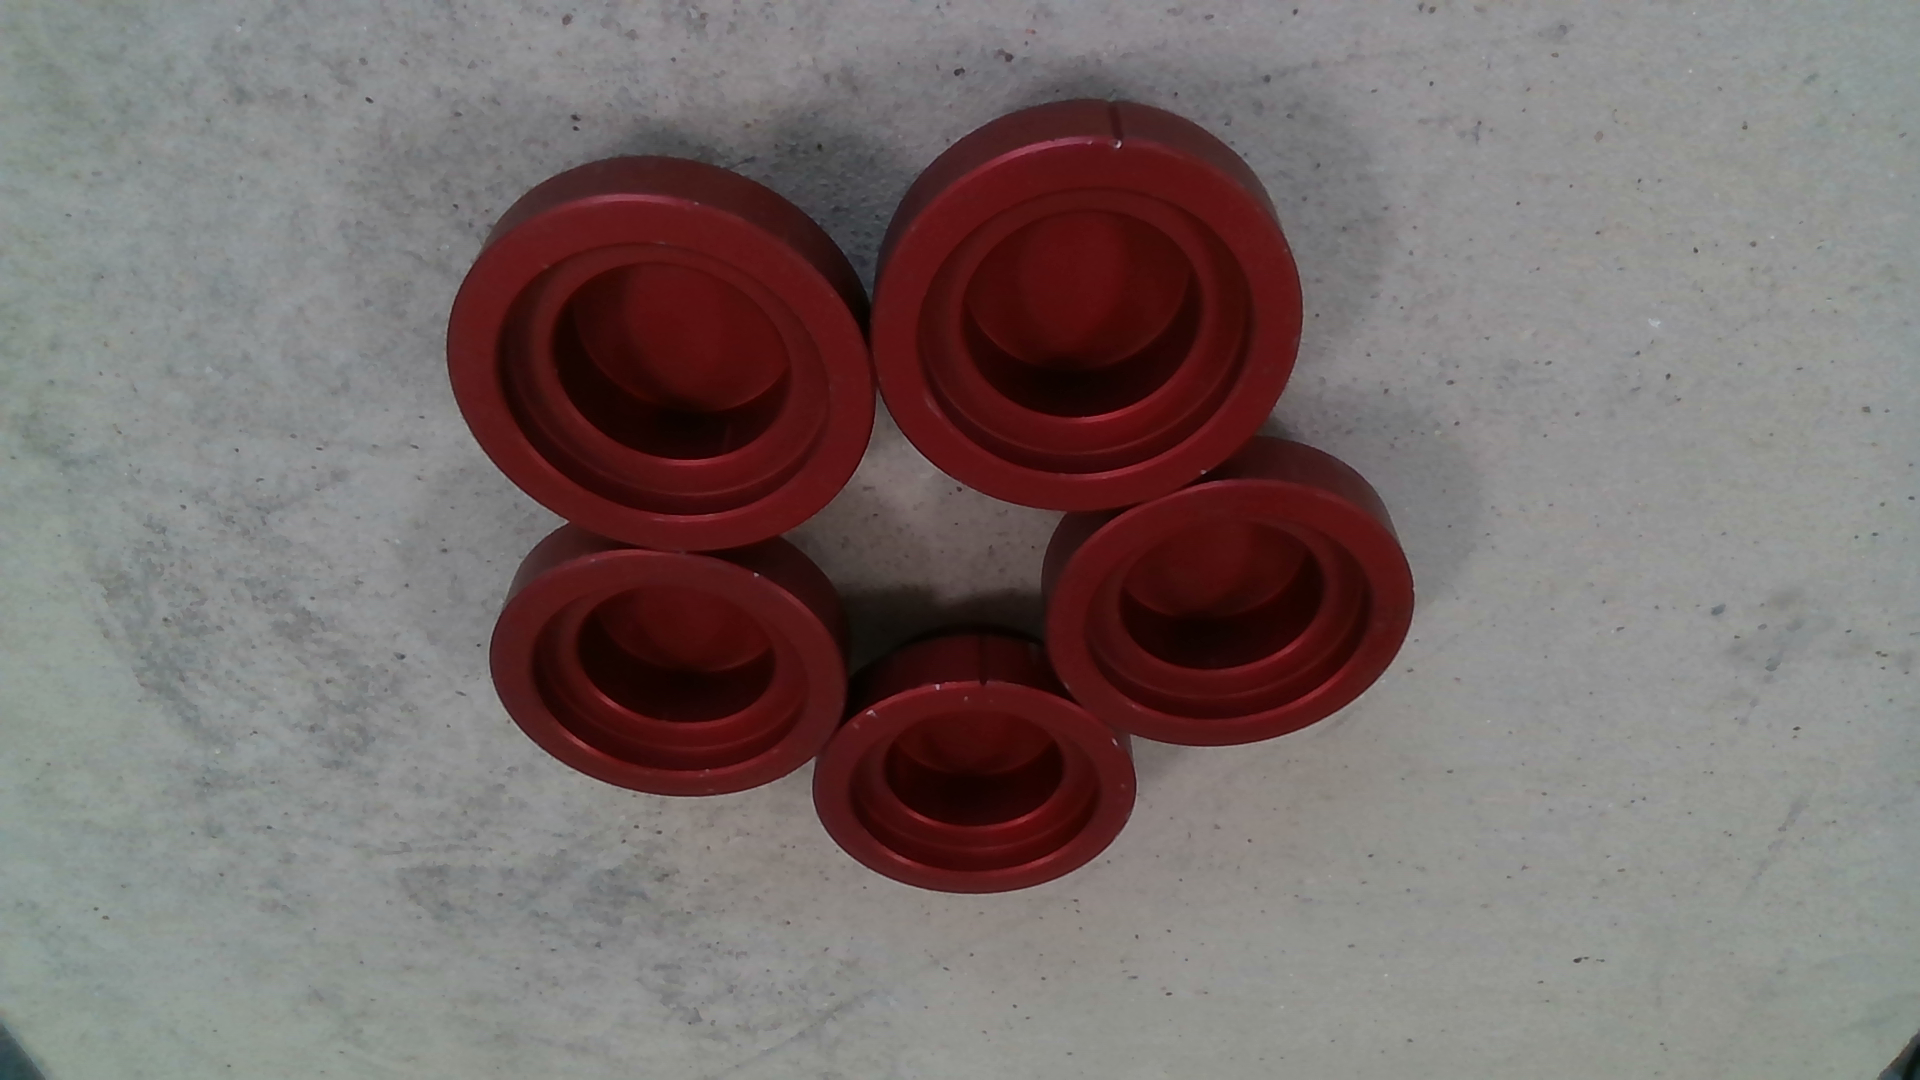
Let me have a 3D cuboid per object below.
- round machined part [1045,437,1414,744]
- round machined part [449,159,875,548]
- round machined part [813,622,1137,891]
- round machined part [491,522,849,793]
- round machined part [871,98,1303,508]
[{"bbox_3d":[0.072,0.010,0.385,0.098,0.042,0.098,-1,131,-1],"label":"round machined part"},{"bbox_3d":[-0.069,-0.048,0.337,0.098,0.042,0.098,-1,131,-1],"label":"round machined part"},{"bbox_3d":[0.004,0.064,0.431,0.098,0.042,0.098,-1,131,-1],"label":"round machined part"},{"bbox_3d":[-0.081,0.027,0.401,0.098,0.042,0.098,0,131,0],"label":"round machined part"},{"bbox_3d":[0.028,-0.058,0.329,0.098,0.042,0.098,-1,130,-1],"label":"round machined part"}]
